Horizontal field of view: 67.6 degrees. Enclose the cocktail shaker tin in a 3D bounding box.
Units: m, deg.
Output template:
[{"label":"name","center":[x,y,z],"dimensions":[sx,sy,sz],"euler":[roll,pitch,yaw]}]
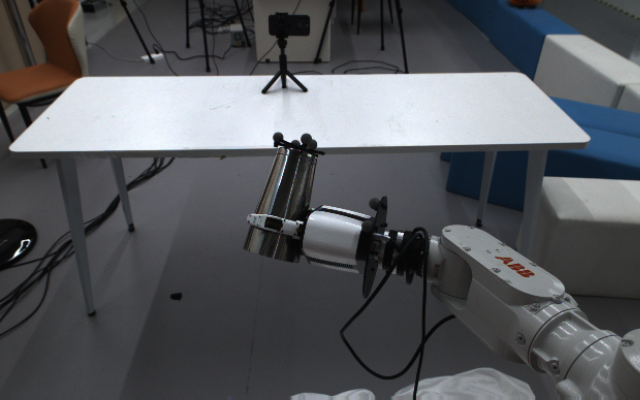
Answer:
[{"label":"cocktail shaker tin","center":[-0.058,0.006,0.774],"dimensions":[0.093,0.170,0.093],"euler":[15,-4,1]}]
